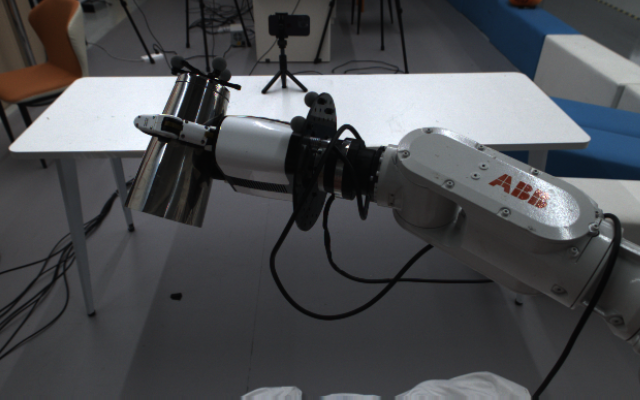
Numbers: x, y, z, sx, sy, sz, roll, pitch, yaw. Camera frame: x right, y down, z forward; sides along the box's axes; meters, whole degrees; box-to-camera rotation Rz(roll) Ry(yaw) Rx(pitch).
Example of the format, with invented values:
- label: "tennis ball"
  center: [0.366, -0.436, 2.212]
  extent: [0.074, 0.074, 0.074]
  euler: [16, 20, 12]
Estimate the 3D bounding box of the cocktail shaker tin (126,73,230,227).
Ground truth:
- label: "cocktail shaker tin"
  center: [-0.165, -0.060, 0.586]
  extent: [0.093, 0.170, 0.093]
  euler: [15, -6, 2]
